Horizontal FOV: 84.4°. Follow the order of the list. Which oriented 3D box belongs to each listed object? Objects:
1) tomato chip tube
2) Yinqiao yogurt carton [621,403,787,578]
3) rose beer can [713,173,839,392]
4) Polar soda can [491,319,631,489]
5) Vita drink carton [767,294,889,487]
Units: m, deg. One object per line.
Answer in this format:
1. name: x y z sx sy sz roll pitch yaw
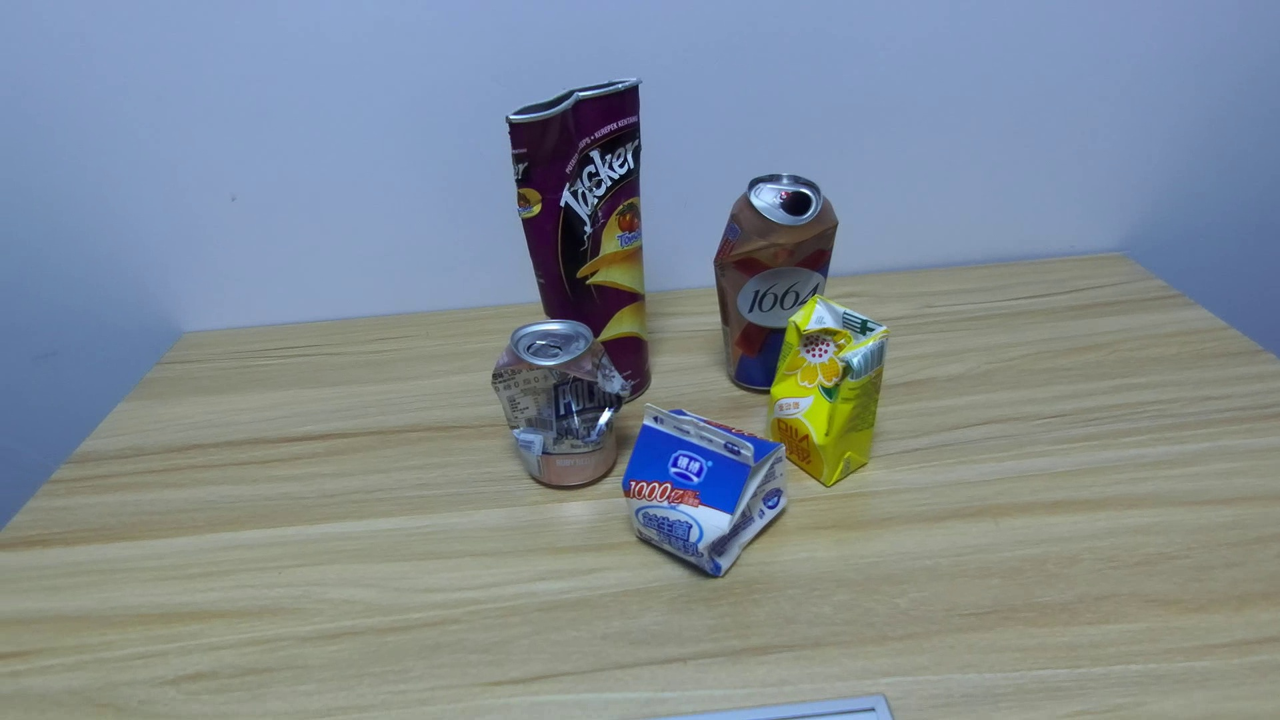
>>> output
1. tomato chip tube: -0.037 -0.077 0.531 0.090 0.236 0.078 -3 35 -2
2. Yinqiao yogurt carton: 0.038 0.071 0.423 0.074 0.097 0.080 18 47 31
3. rose beer can: 0.101 -0.054 0.539 0.069 0.168 0.069 20 42 27
4. Polar soda can: -0.051 0.029 0.486 0.074 0.114 0.070 -33 47 -30
5. Vita drink carton: 0.122 0.021 0.477 0.046 0.110 0.071 -21 36 -27
